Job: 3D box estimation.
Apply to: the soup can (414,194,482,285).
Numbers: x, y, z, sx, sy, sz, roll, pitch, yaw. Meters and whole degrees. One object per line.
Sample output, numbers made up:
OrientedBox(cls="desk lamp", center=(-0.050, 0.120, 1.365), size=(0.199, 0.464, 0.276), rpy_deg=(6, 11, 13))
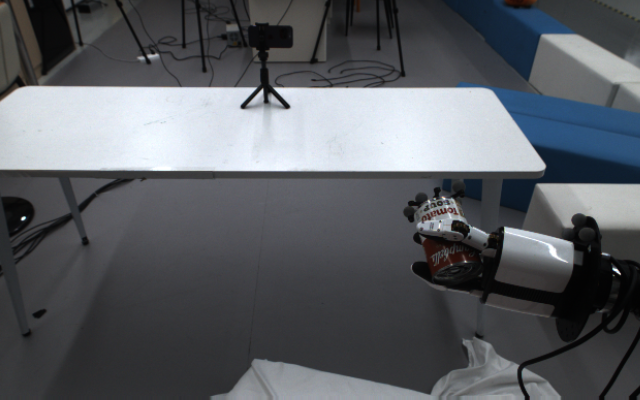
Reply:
OrientedBox(cls="soup can", center=(0.172, 0.053, 0.651), size=(0.067, 0.067, 0.101), rpy_deg=(-5, 57, -10))
